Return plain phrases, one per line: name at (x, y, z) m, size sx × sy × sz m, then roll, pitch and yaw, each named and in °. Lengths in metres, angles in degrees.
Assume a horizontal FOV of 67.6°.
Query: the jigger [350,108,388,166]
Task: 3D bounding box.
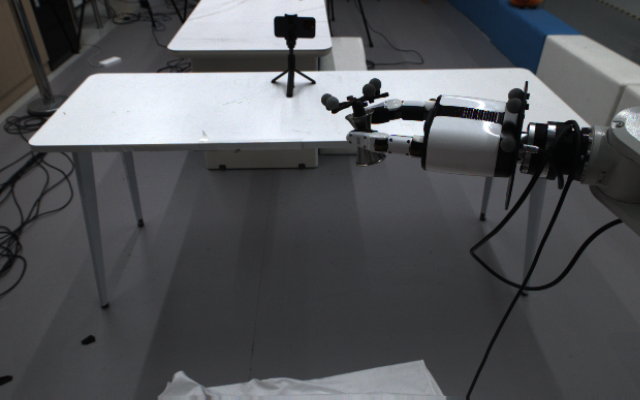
jigger at (0.063, -0.086, 0.665) m, size 0.043 × 0.071 × 0.043 m, roll -14°, pitch 21°, yaw 6°
